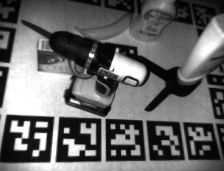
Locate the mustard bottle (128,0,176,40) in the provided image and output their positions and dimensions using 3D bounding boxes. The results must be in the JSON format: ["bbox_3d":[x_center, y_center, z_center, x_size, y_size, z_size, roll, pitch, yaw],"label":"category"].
[{"bbox_3d":[0.121,-0.206,0.603,0.097,0.191,0.058,17,65,-10],"label":"mustard bottle"}]

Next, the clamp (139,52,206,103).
[{"bbox_3d":[0.181,-0.035,0.620,0.204,0.036,0.165,-2,73,-20],"label":"clamp"}]

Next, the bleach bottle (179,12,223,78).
[{"bbox_3d":[0.241,-0.085,0.542,0.103,0.251,0.067,-17,70,-14],"label":"bleach bottle"}]

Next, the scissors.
[{"bbox_3d":[-0.114,-0.109,0.471,0.204,0.016,0.088,29,68,-10],"label":"scissors"}]

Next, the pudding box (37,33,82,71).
[{"bbox_3d":[-0.121,-0.079,0.528,0.115,0.090,0.038,8,61,-15],"label":"pudding box"}]

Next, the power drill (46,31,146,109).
[{"bbox_3d":[-0.043,-0.023,0.446,0.185,0.186,0.057,15,59,-8],"label":"power drill"}]

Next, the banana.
[{"bbox_3d":[-0.001,-0.203,0.636,0.198,0.039,0.073,-37,67,-25],"label":"banana"}]
